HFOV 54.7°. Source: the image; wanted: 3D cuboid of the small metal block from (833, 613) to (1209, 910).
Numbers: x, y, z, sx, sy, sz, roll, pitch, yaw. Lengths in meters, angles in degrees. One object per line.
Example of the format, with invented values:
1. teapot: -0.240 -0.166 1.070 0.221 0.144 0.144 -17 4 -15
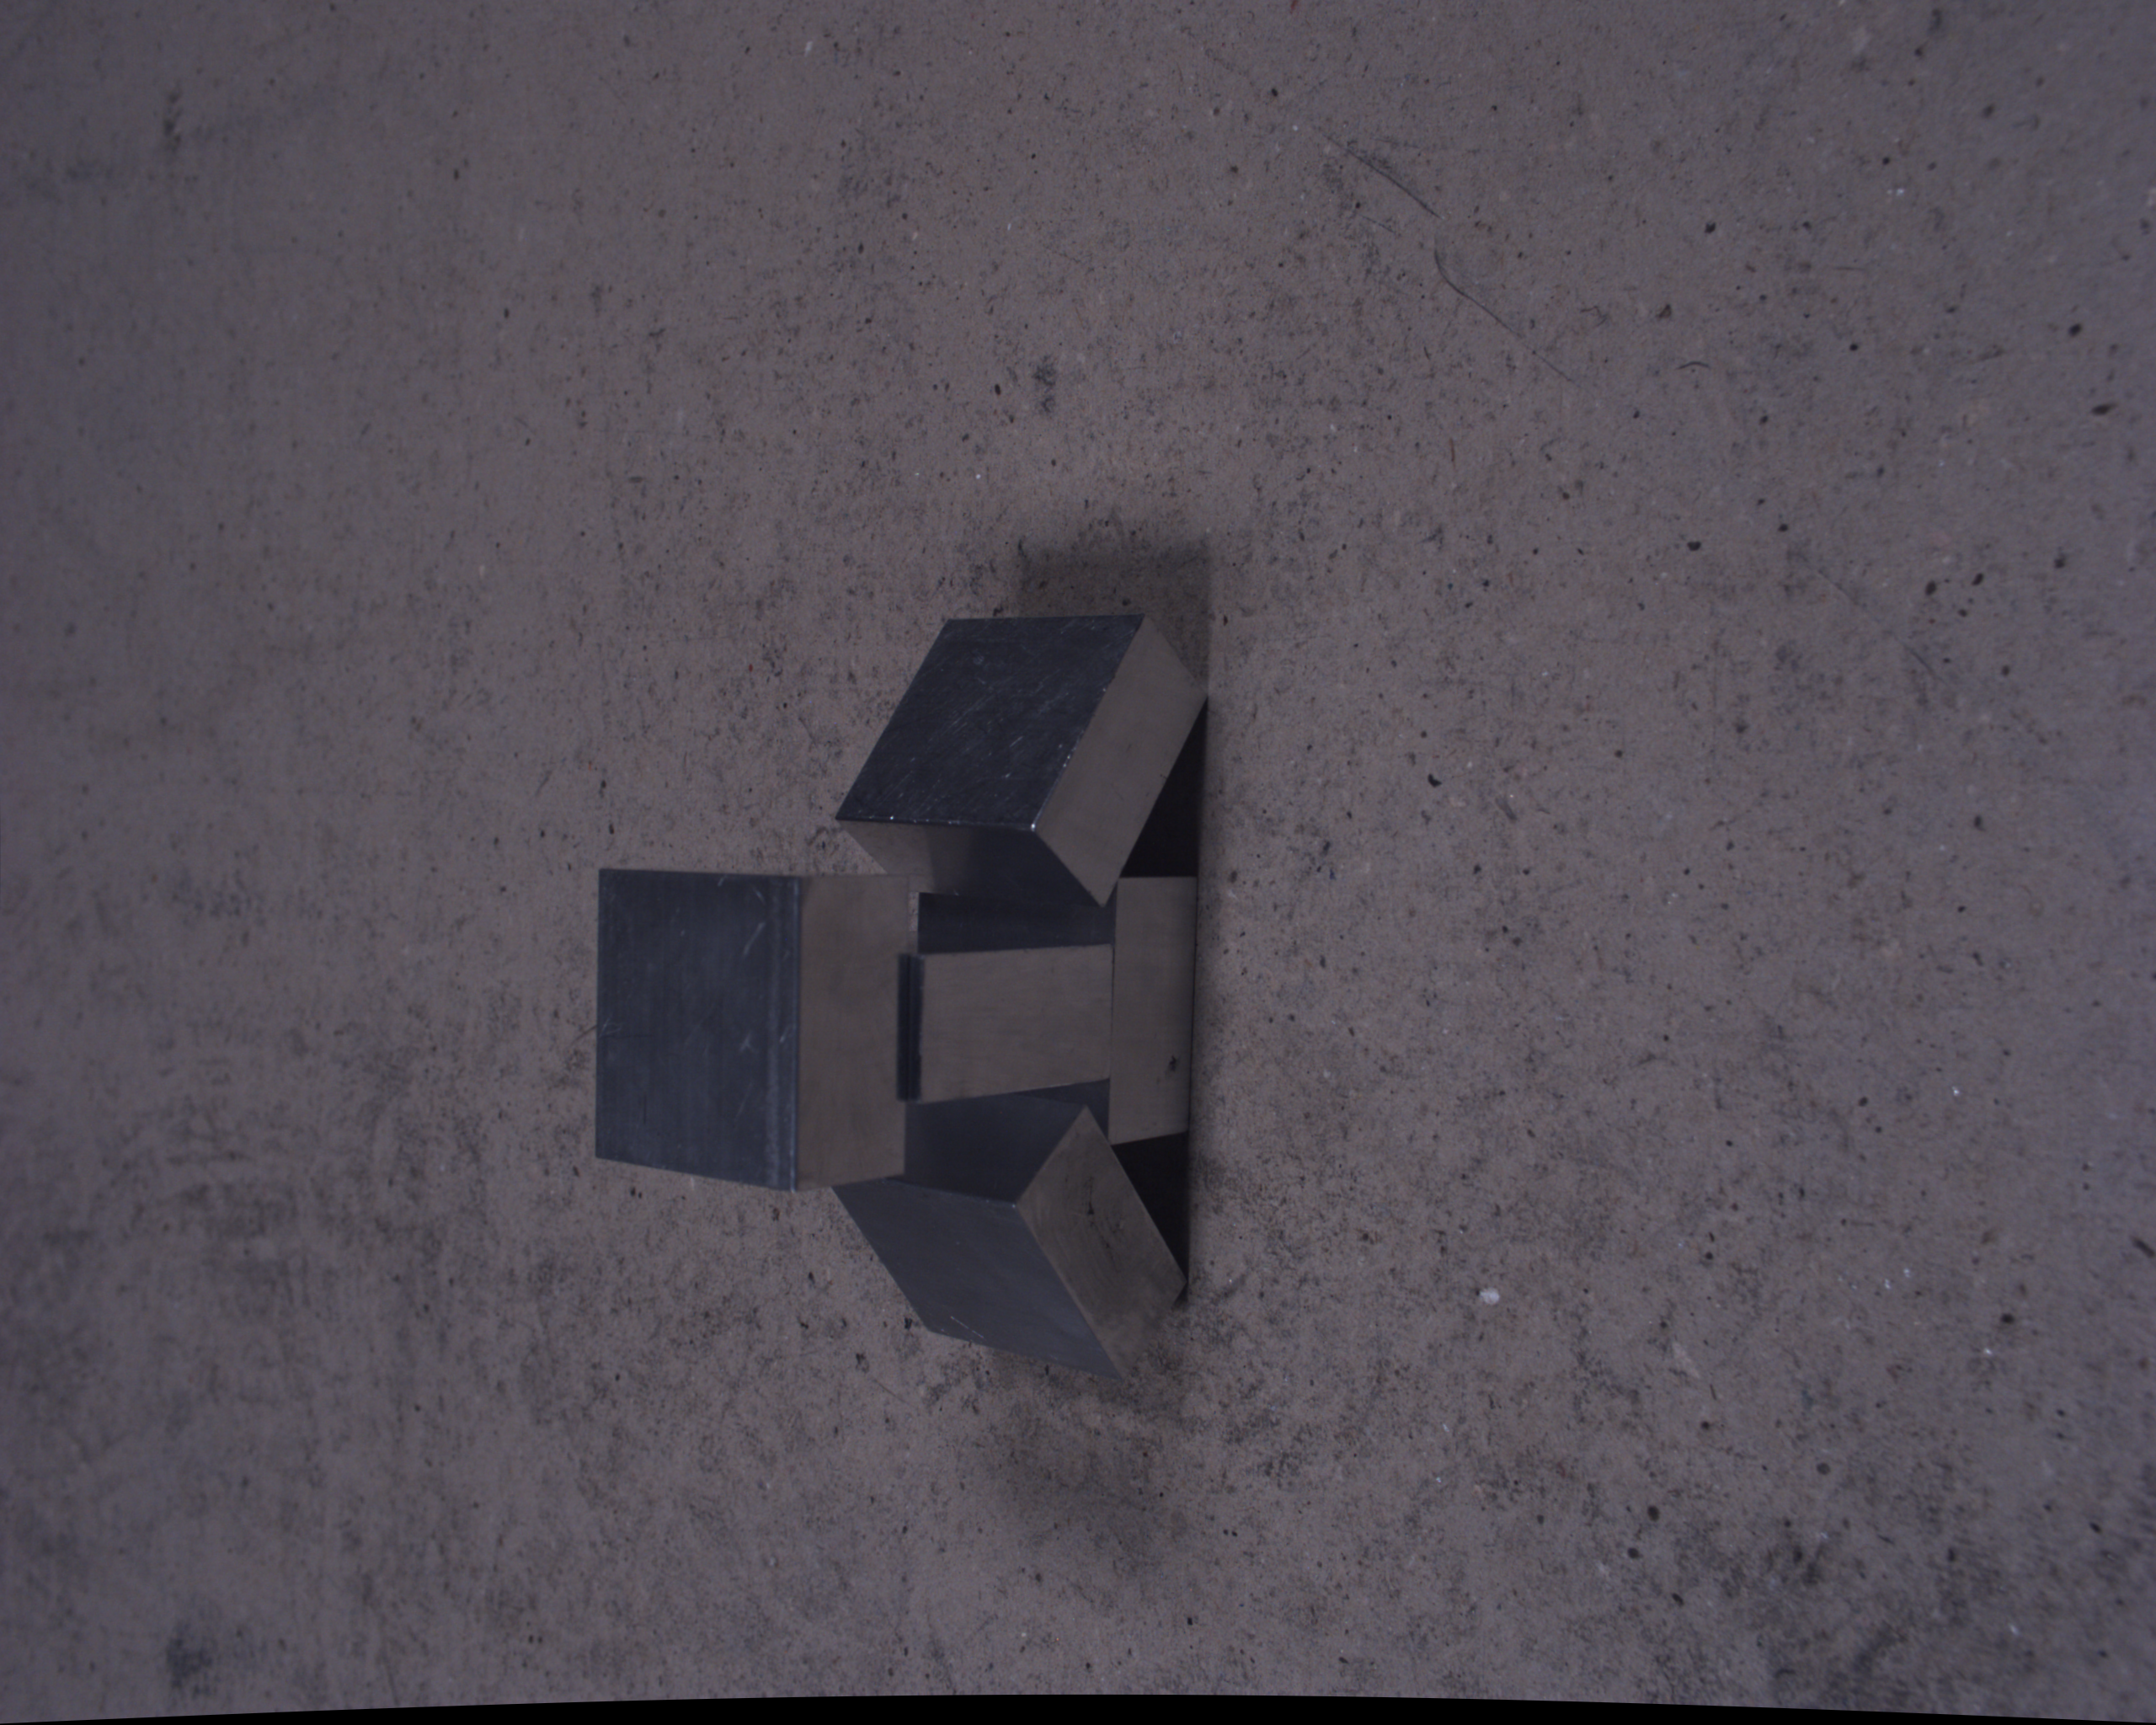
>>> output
1. small metal block: -0.011 -0.020 0.398 0.050 0.025 0.050 4 56 40

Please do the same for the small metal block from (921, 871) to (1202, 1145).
1. small metal block: -0.004 0.026 0.409 0.050 0.025 0.050 3 92 39

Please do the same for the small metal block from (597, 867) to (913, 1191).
1. small metal block: -0.055 0.026 0.352 0.050 0.025 0.050 1 91 39

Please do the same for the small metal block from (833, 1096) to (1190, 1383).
1. small metal block: -0.014 0.069 0.400 0.050 0.025 0.050 3 133 39

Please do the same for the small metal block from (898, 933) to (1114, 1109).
1. small metal block: -0.029 0.027 0.379 0.050 0.050 0.025 3 92 39
